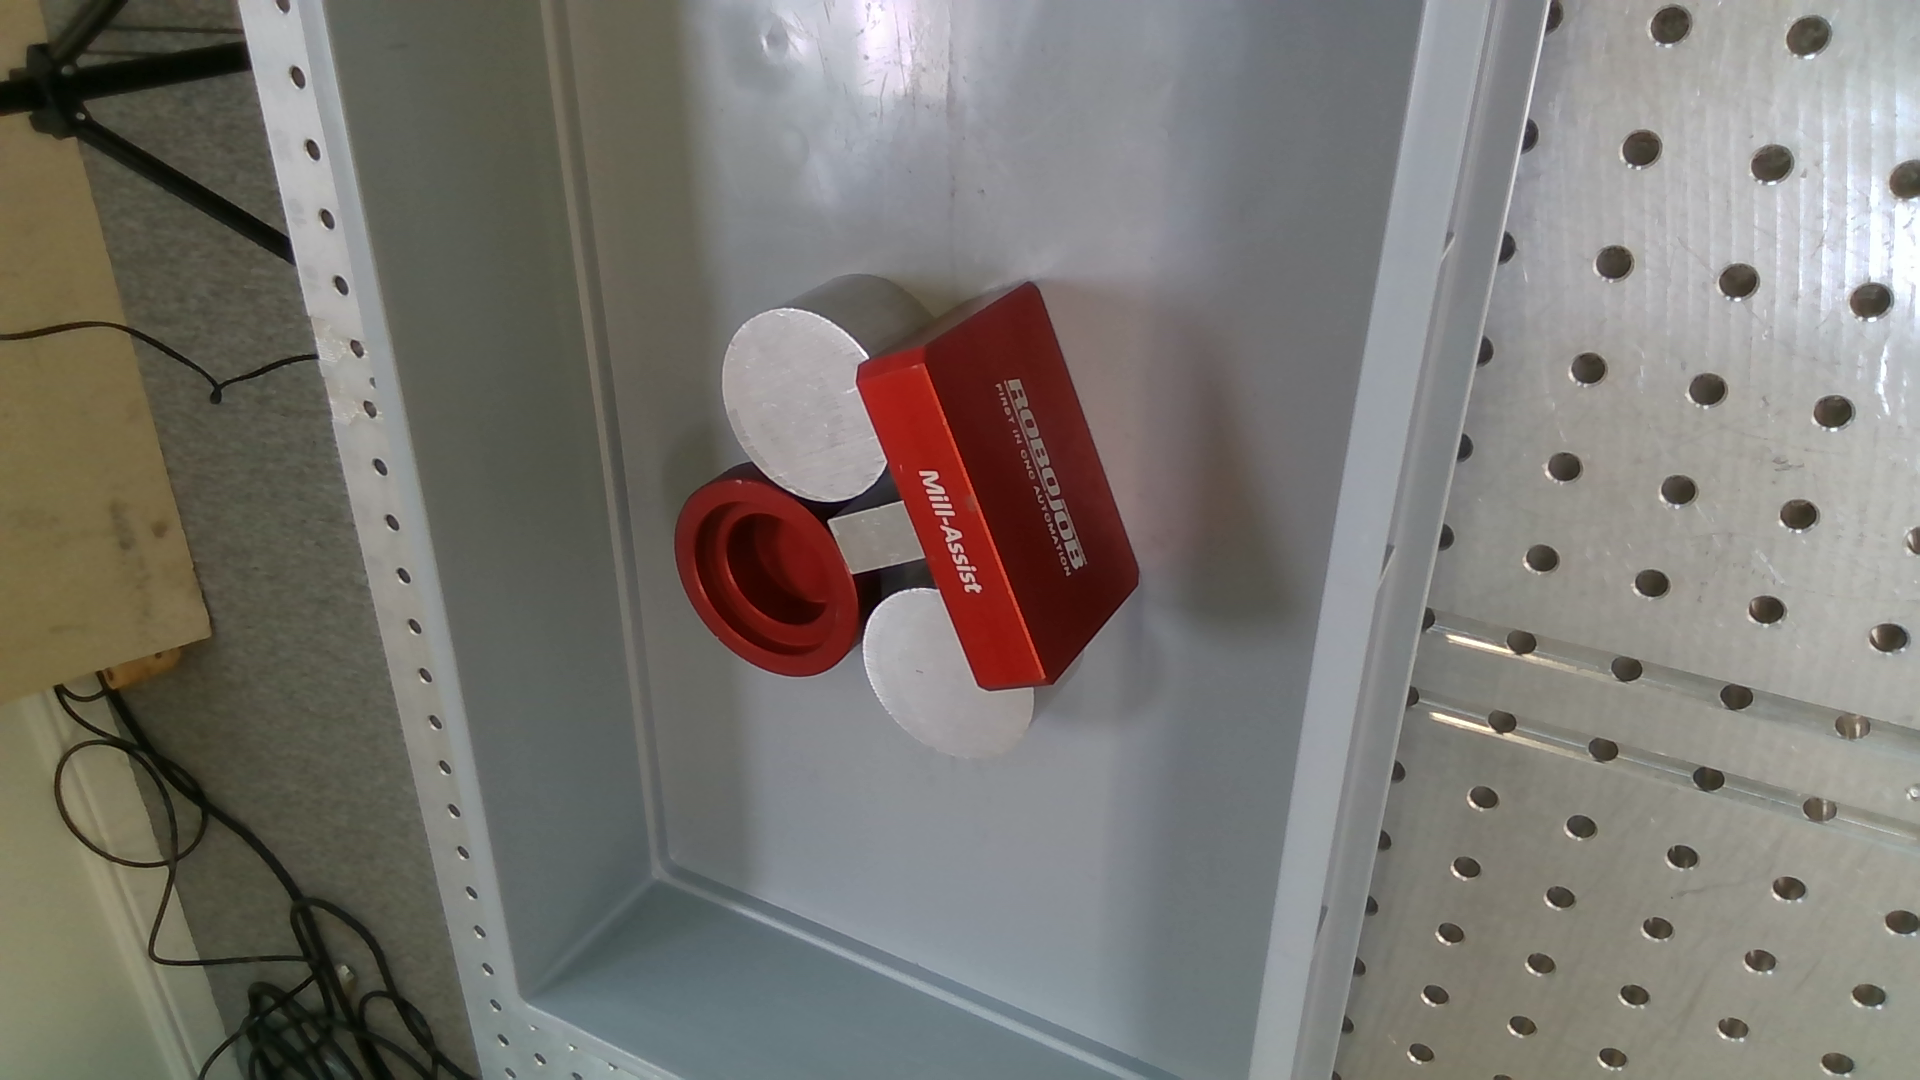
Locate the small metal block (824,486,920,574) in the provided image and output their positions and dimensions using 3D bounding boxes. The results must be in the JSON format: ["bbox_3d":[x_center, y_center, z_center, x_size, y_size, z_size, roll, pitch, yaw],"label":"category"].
[{"bbox_3d":[-0.019,-0.012,0.567,0.050,0.050,0.025,-12,108,36],"label":"small metal block"}]

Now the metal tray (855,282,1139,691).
[{"bbox_3d":[0.018,-0.021,0.513,0.030,0.090,0.130,-10,109,35],"label":"metal tray"}]

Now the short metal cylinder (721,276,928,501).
[{"bbox_3d":[-0.049,-0.062,0.558,0.080,0.050,0.080,14,122,25],"label":"short metal cylinder"}]

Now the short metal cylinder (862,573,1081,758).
[{"bbox_3d":[0.006,0.045,0.584,0.080,0.050,0.080,14,122,25],"label":"short metal cylinder"}]

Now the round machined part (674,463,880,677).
[{"bbox_3d":[-0.077,0.009,0.620,0.098,0.042,0.098,14,122,25],"label":"round machined part"}]
